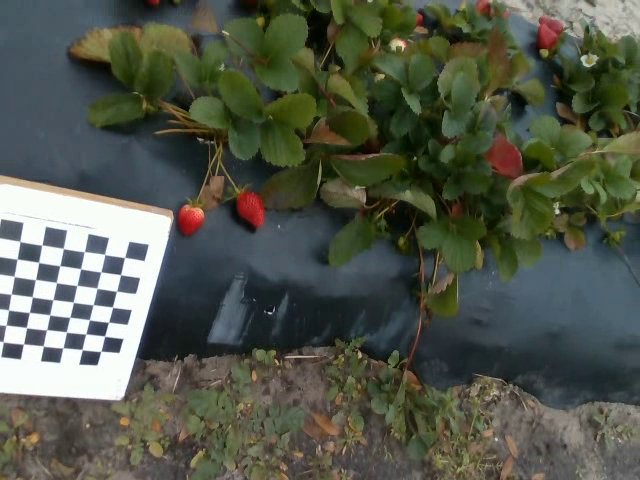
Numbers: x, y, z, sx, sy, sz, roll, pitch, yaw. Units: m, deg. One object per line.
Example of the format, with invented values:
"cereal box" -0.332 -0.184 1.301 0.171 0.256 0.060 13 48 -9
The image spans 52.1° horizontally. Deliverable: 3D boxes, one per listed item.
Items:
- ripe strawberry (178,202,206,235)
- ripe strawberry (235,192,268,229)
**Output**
"ripe strawberry" -0.158 -0.024 0.814 0.036 0.041 0.027 14 3 -17
"ripe strawberry" -0.087 -0.040 0.848 0.044 0.059 0.042 -26 11 7
